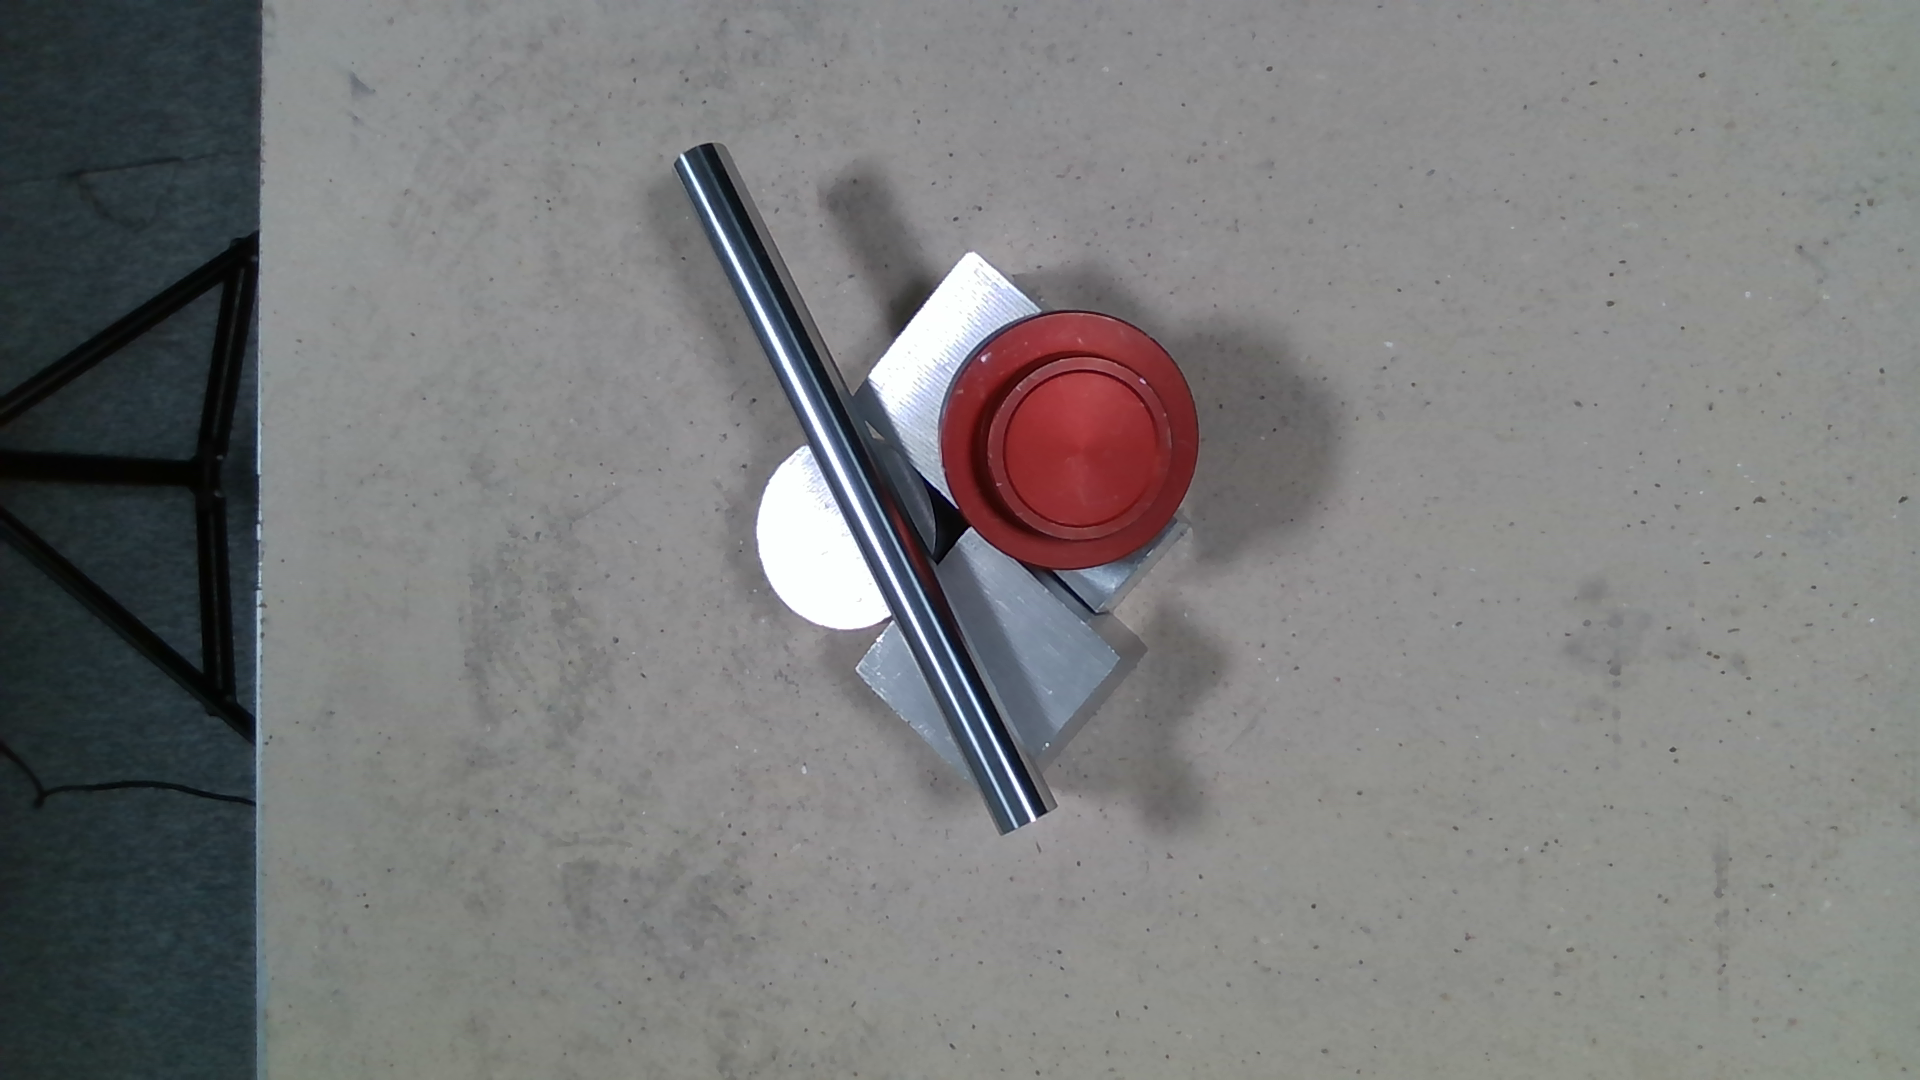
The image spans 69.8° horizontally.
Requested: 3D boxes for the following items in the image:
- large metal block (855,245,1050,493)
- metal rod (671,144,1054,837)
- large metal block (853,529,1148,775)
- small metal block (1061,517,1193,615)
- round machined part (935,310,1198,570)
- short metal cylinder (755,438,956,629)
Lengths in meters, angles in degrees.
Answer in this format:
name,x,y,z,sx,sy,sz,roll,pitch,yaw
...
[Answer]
name,x,y,z,sx,sy,sz,roll,pitch,yaw
large metal block,0.016,-0.060,0.565,0.080,0.050,0.080,44,104,15
metal rod,-0.042,-0.025,0.547,0.025,0.025,0.300,-30,80,18
large metal block,0.018,0.049,0.566,0.080,0.050,0.080,43,104,15
small metal block,0.058,-0.005,0.563,0.050,0.025,0.050,44,104,14
round machined part,0.041,-0.036,0.514,0.098,0.042,0.098,-1,101,-5
short metal cylinder,-0.040,-0.004,0.586,0.080,0.050,0.080,0,90,20
